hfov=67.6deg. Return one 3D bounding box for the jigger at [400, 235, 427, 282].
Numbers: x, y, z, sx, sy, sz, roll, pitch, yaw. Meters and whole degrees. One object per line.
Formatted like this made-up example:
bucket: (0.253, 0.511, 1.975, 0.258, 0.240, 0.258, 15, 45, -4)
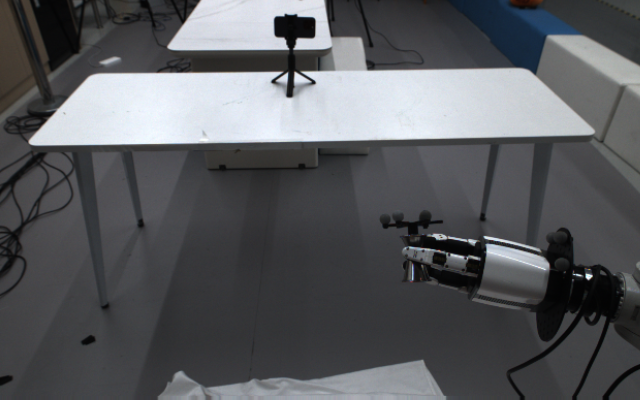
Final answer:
jigger: (0.139, 0.085, 0.713, 0.043, 0.071, 0.043, -2, -7, 0)
